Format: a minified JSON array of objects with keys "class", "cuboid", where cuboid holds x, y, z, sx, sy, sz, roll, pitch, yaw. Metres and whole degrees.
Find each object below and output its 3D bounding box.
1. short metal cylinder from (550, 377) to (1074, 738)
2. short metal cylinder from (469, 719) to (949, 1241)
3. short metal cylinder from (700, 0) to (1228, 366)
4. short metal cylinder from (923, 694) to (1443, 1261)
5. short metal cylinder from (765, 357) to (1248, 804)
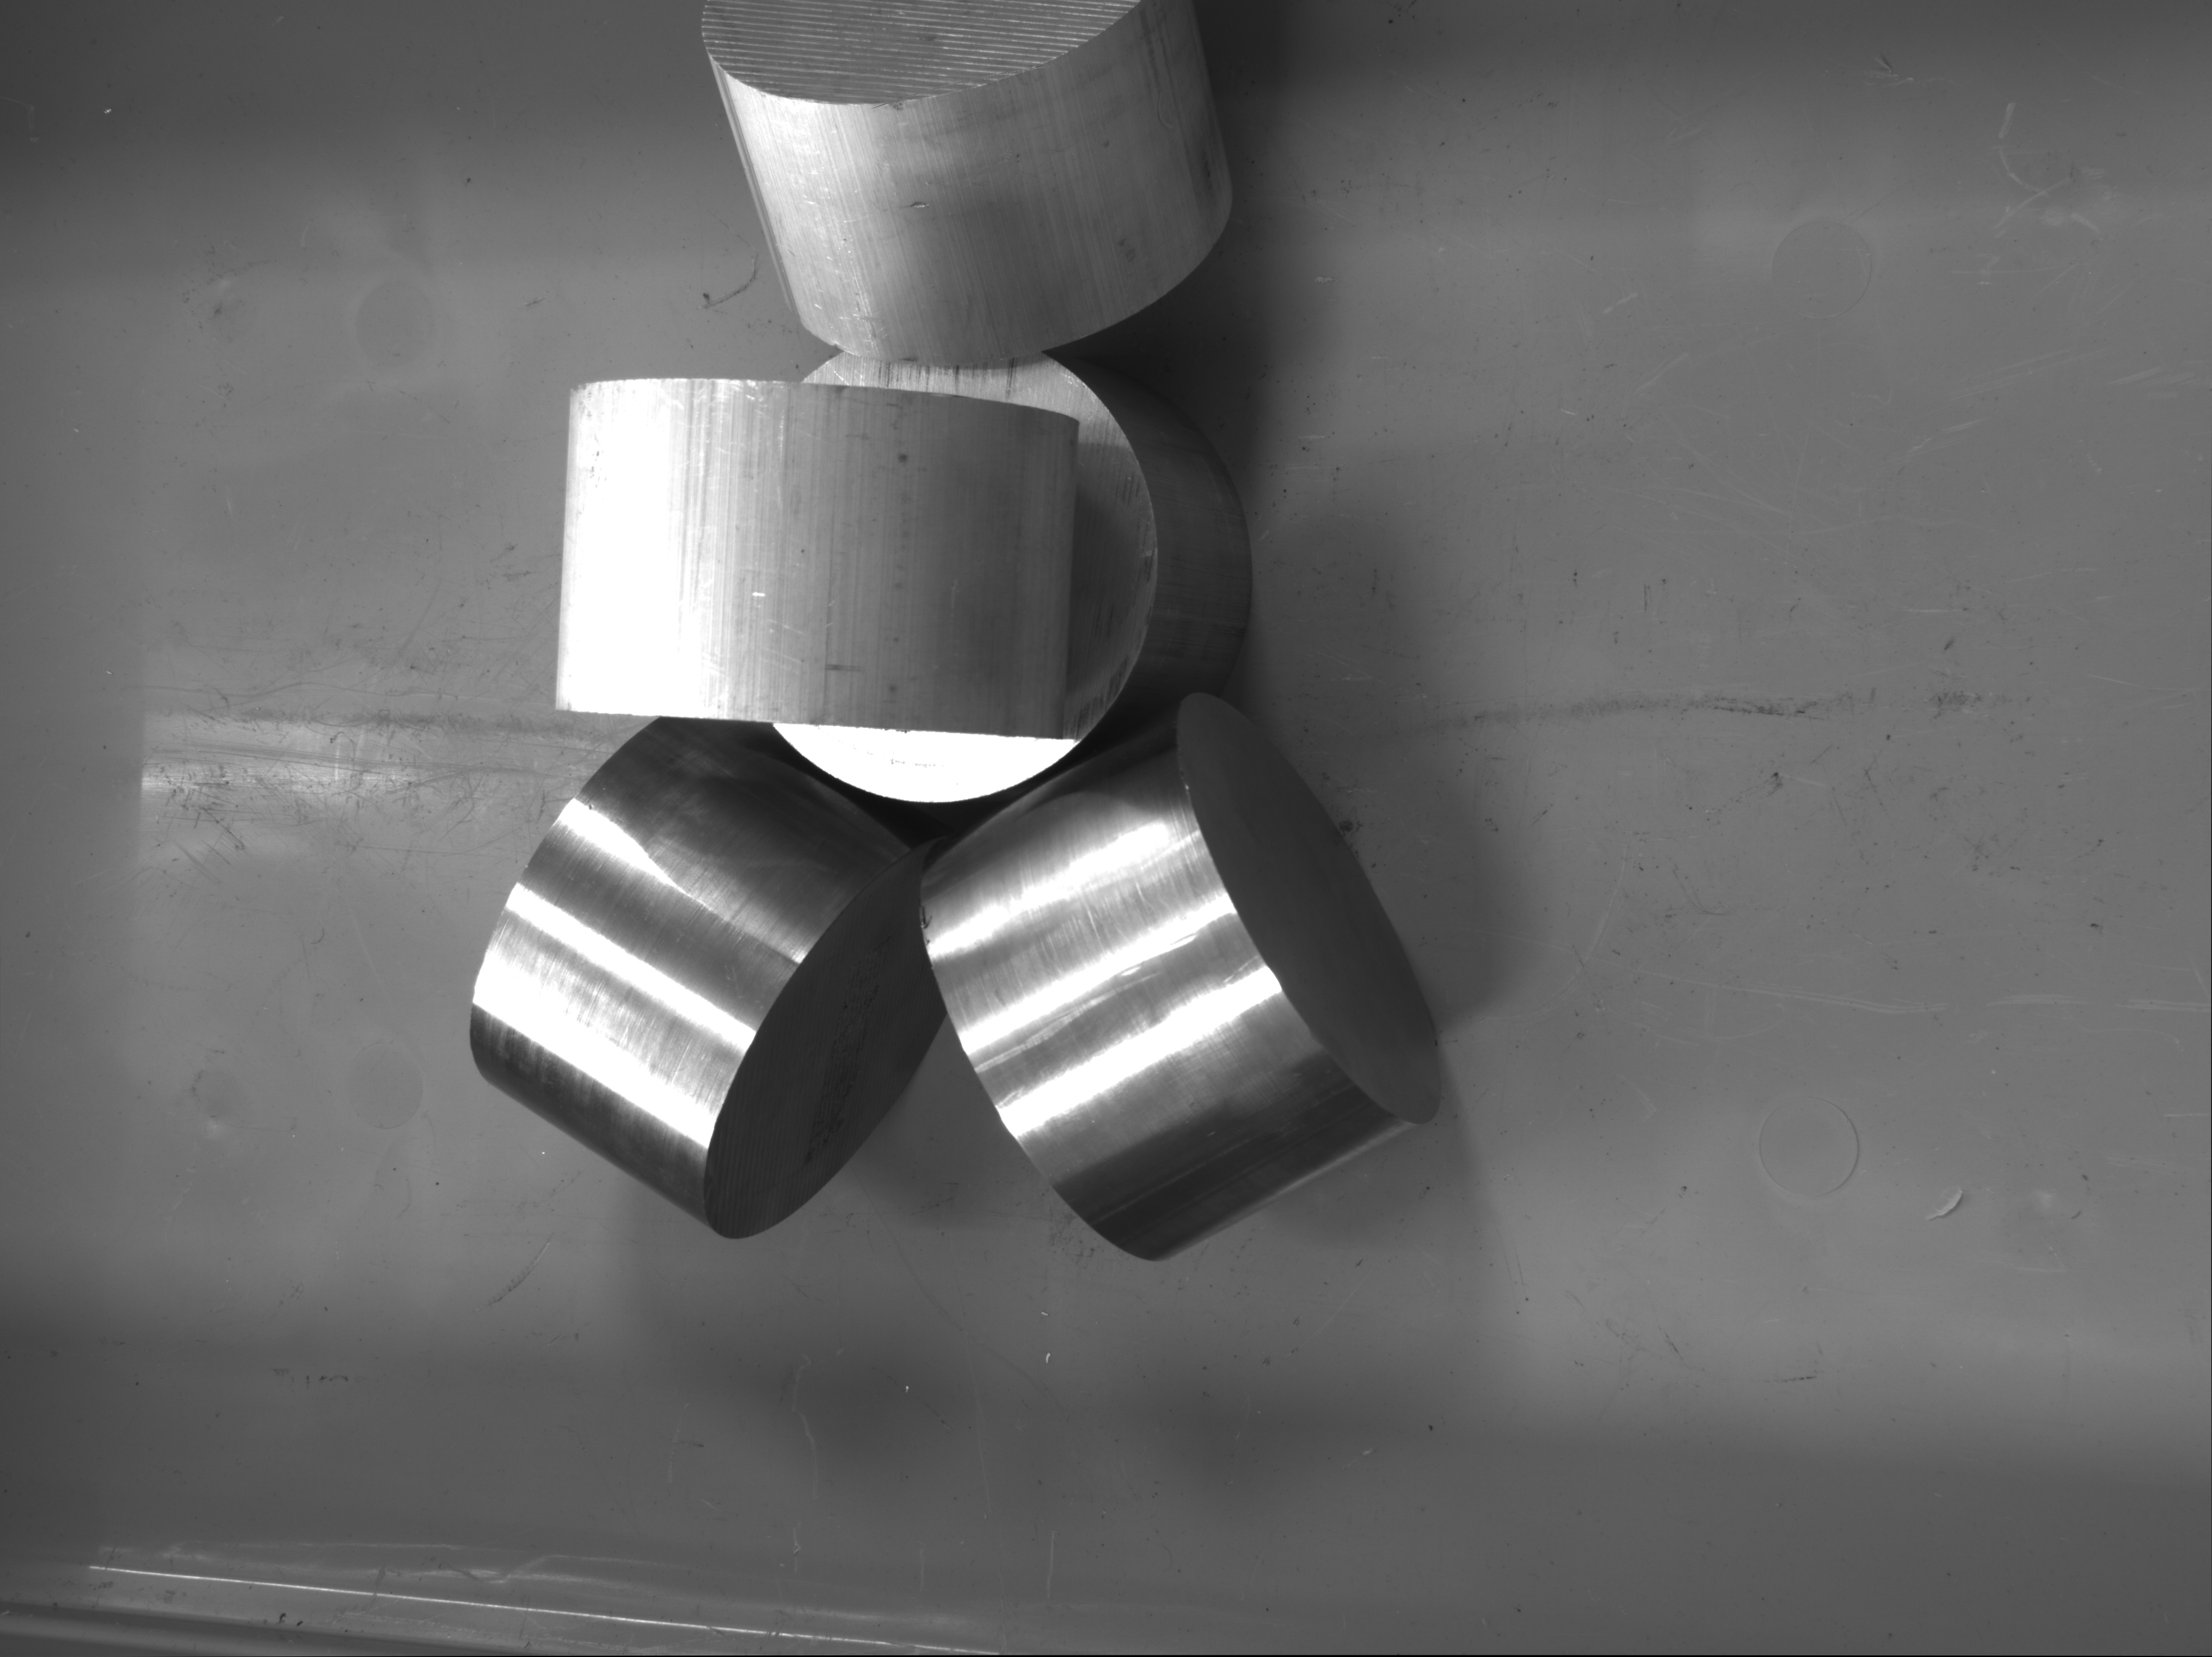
[{"class":"short metal cylinder","cuboid":[-0.046,-0.041,0.579,0.080,0.080,0.050,3,91,20]},{"class":"short metal cylinder","cuboid":[-0.065,0.024,0.639,0.050,0.080,0.080,31,100,18]},{"class":"short metal cylinder","cuboid":[-0.023,-0.122,0.618,0.080,0.080,0.050,4,134,20]},{"class":"short metal cylinder","cuboid":[0.013,0.025,0.611,0.050,0.080,0.080,-30,80,18]},{"class":"short metal cylinder","cuboid":[-0.021,-0.044,0.638,0.080,0.050,0.080,0,90,20]}]
